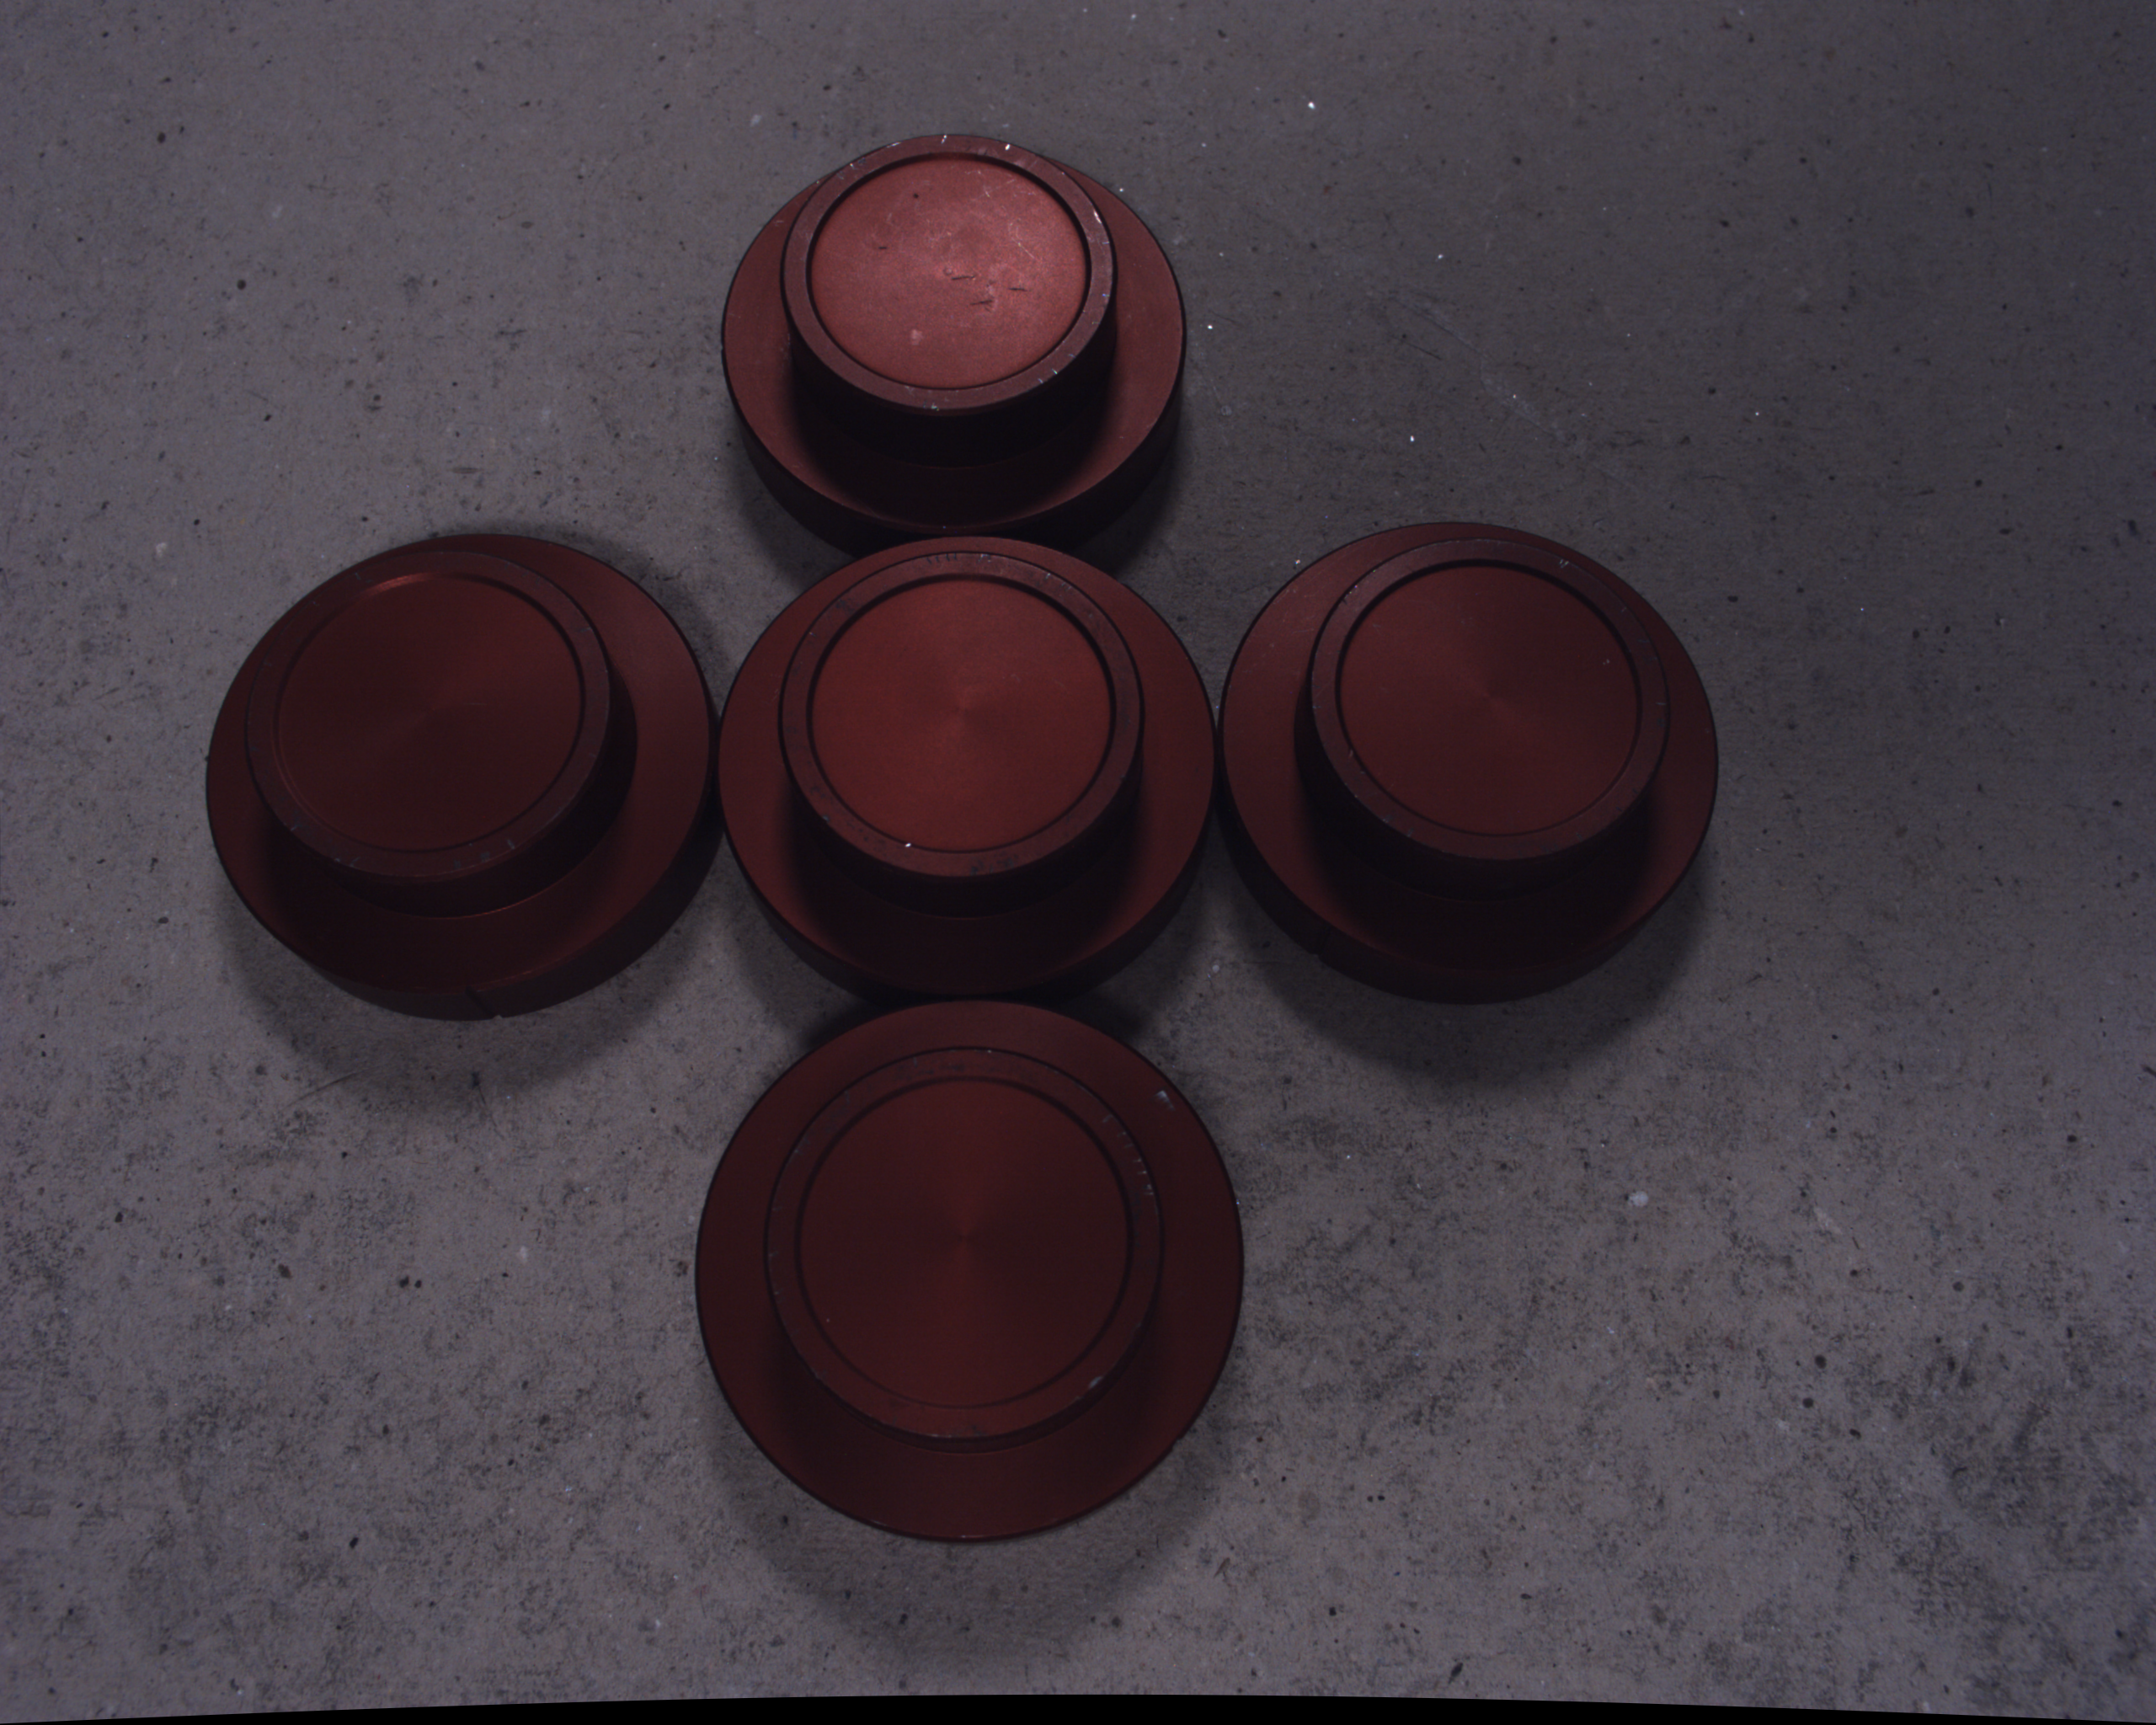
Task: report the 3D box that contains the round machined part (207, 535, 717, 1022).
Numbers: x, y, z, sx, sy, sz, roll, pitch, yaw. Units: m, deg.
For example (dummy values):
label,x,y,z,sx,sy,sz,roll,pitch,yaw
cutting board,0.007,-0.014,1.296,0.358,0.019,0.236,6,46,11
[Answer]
label,x,y,z,sx,sy,sz,roll,pitch,yaw
round machined part,-0.120,-0.021,0.407,0.099,0.042,0.098,0,70,-1

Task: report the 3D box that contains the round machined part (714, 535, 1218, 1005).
label,x,y,z,sx,sy,sz,roll,pitch,yaw
round machined part,-0.022,-0.021,0.408,0.099,0.042,0.098,0,70,-1

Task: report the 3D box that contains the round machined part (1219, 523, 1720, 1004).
label,x,y,z,sx,sy,sz,roll,pitch,yaw
round machined part,0.077,-0.024,0.410,0.099,0.042,0.098,0,70,-1

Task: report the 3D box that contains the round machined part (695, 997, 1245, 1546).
label,x,y,z,sx,sy,sz,roll,pitch,yaw
round machined part,-0.019,0.071,0.374,0.099,0.042,0.098,0,70,-1

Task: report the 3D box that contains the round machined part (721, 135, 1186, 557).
label,x,y,z,sx,sy,sz,roll,pitch,yaw
round machined part,-0.026,-0.113,0.442,0.099,0.042,0.098,0,70,-1
